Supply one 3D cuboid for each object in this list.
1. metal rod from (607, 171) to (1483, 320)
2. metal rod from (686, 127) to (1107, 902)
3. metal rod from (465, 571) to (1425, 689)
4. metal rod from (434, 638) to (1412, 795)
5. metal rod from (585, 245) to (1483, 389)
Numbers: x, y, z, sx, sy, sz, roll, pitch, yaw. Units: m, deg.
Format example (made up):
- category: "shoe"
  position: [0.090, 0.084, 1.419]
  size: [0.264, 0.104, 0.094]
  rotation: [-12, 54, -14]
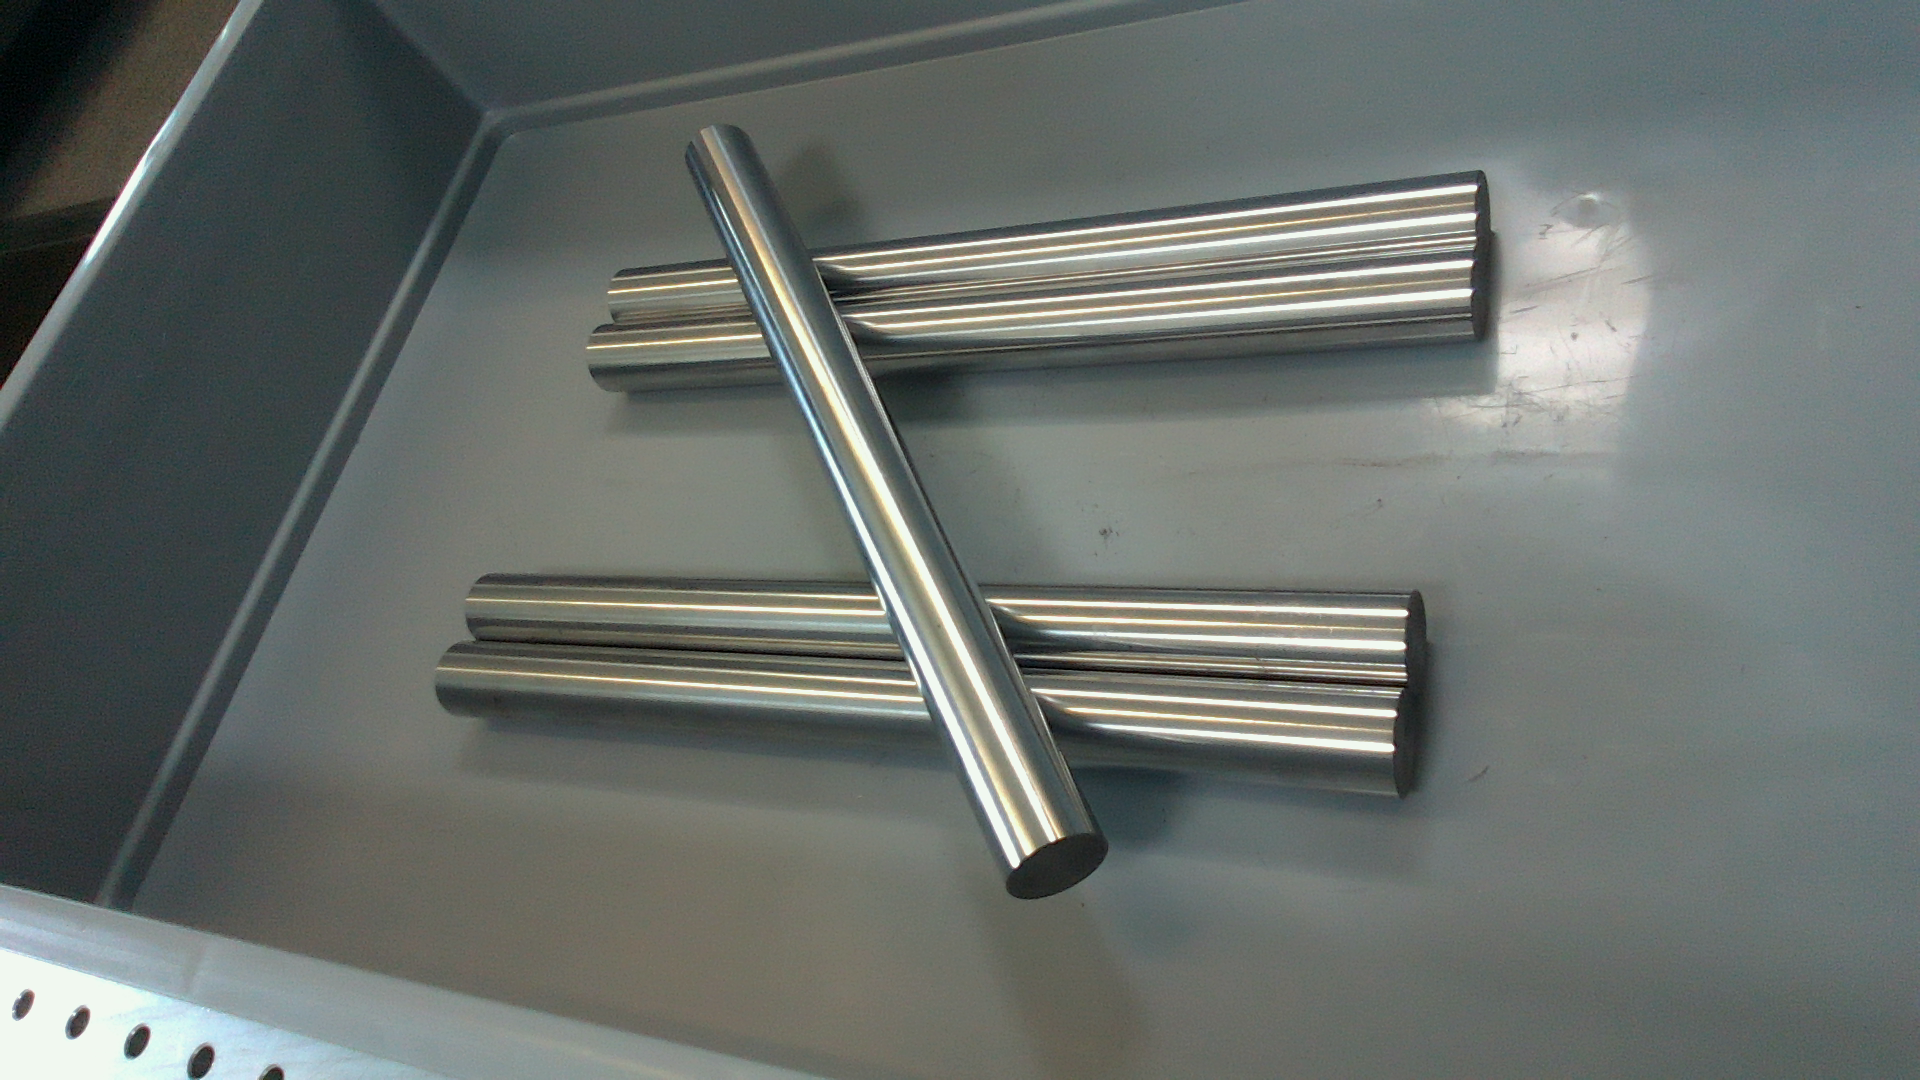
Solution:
- category: "metal rod"
  position: [0.008, -0.088, 0.441]
  size: [0.299, 0.025, 0.025]
  rotation: [1, 62, 29]
- category: "metal rod"
  position: [-0.032, -0.032, 0.397]
  size: [0.025, 0.025, 0.299]
  rotation: [-33, 51, 7]
- category: "metal rod"
  position: [-0.025, 0.022, 0.392]
  size: [0.299, 0.025, 0.025]
  rotation: [0, 62, 28]
- category: "metal rod"
  position: [-0.031, 0.045, 0.381]
  size: [0.299, 0.025, 0.025]
  rotation: [0, 62, 28]
- category: "metal rod"
  position: [0.003, -0.066, 0.430]
  size: [0.299, 0.025, 0.025]
  rotation: [1, 62, 29]
